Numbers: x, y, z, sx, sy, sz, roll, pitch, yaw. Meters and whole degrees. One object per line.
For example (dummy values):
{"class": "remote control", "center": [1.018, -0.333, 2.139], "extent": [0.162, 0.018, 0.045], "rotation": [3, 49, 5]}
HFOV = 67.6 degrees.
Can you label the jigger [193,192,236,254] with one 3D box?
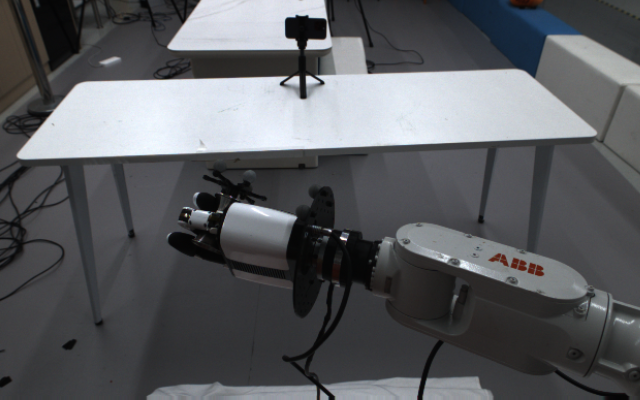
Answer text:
{"class": "jigger", "center": [-0.127, 0.029, 0.612], "extent": [0.043, 0.043, 0.071], "rotation": [15, 71, 18]}
